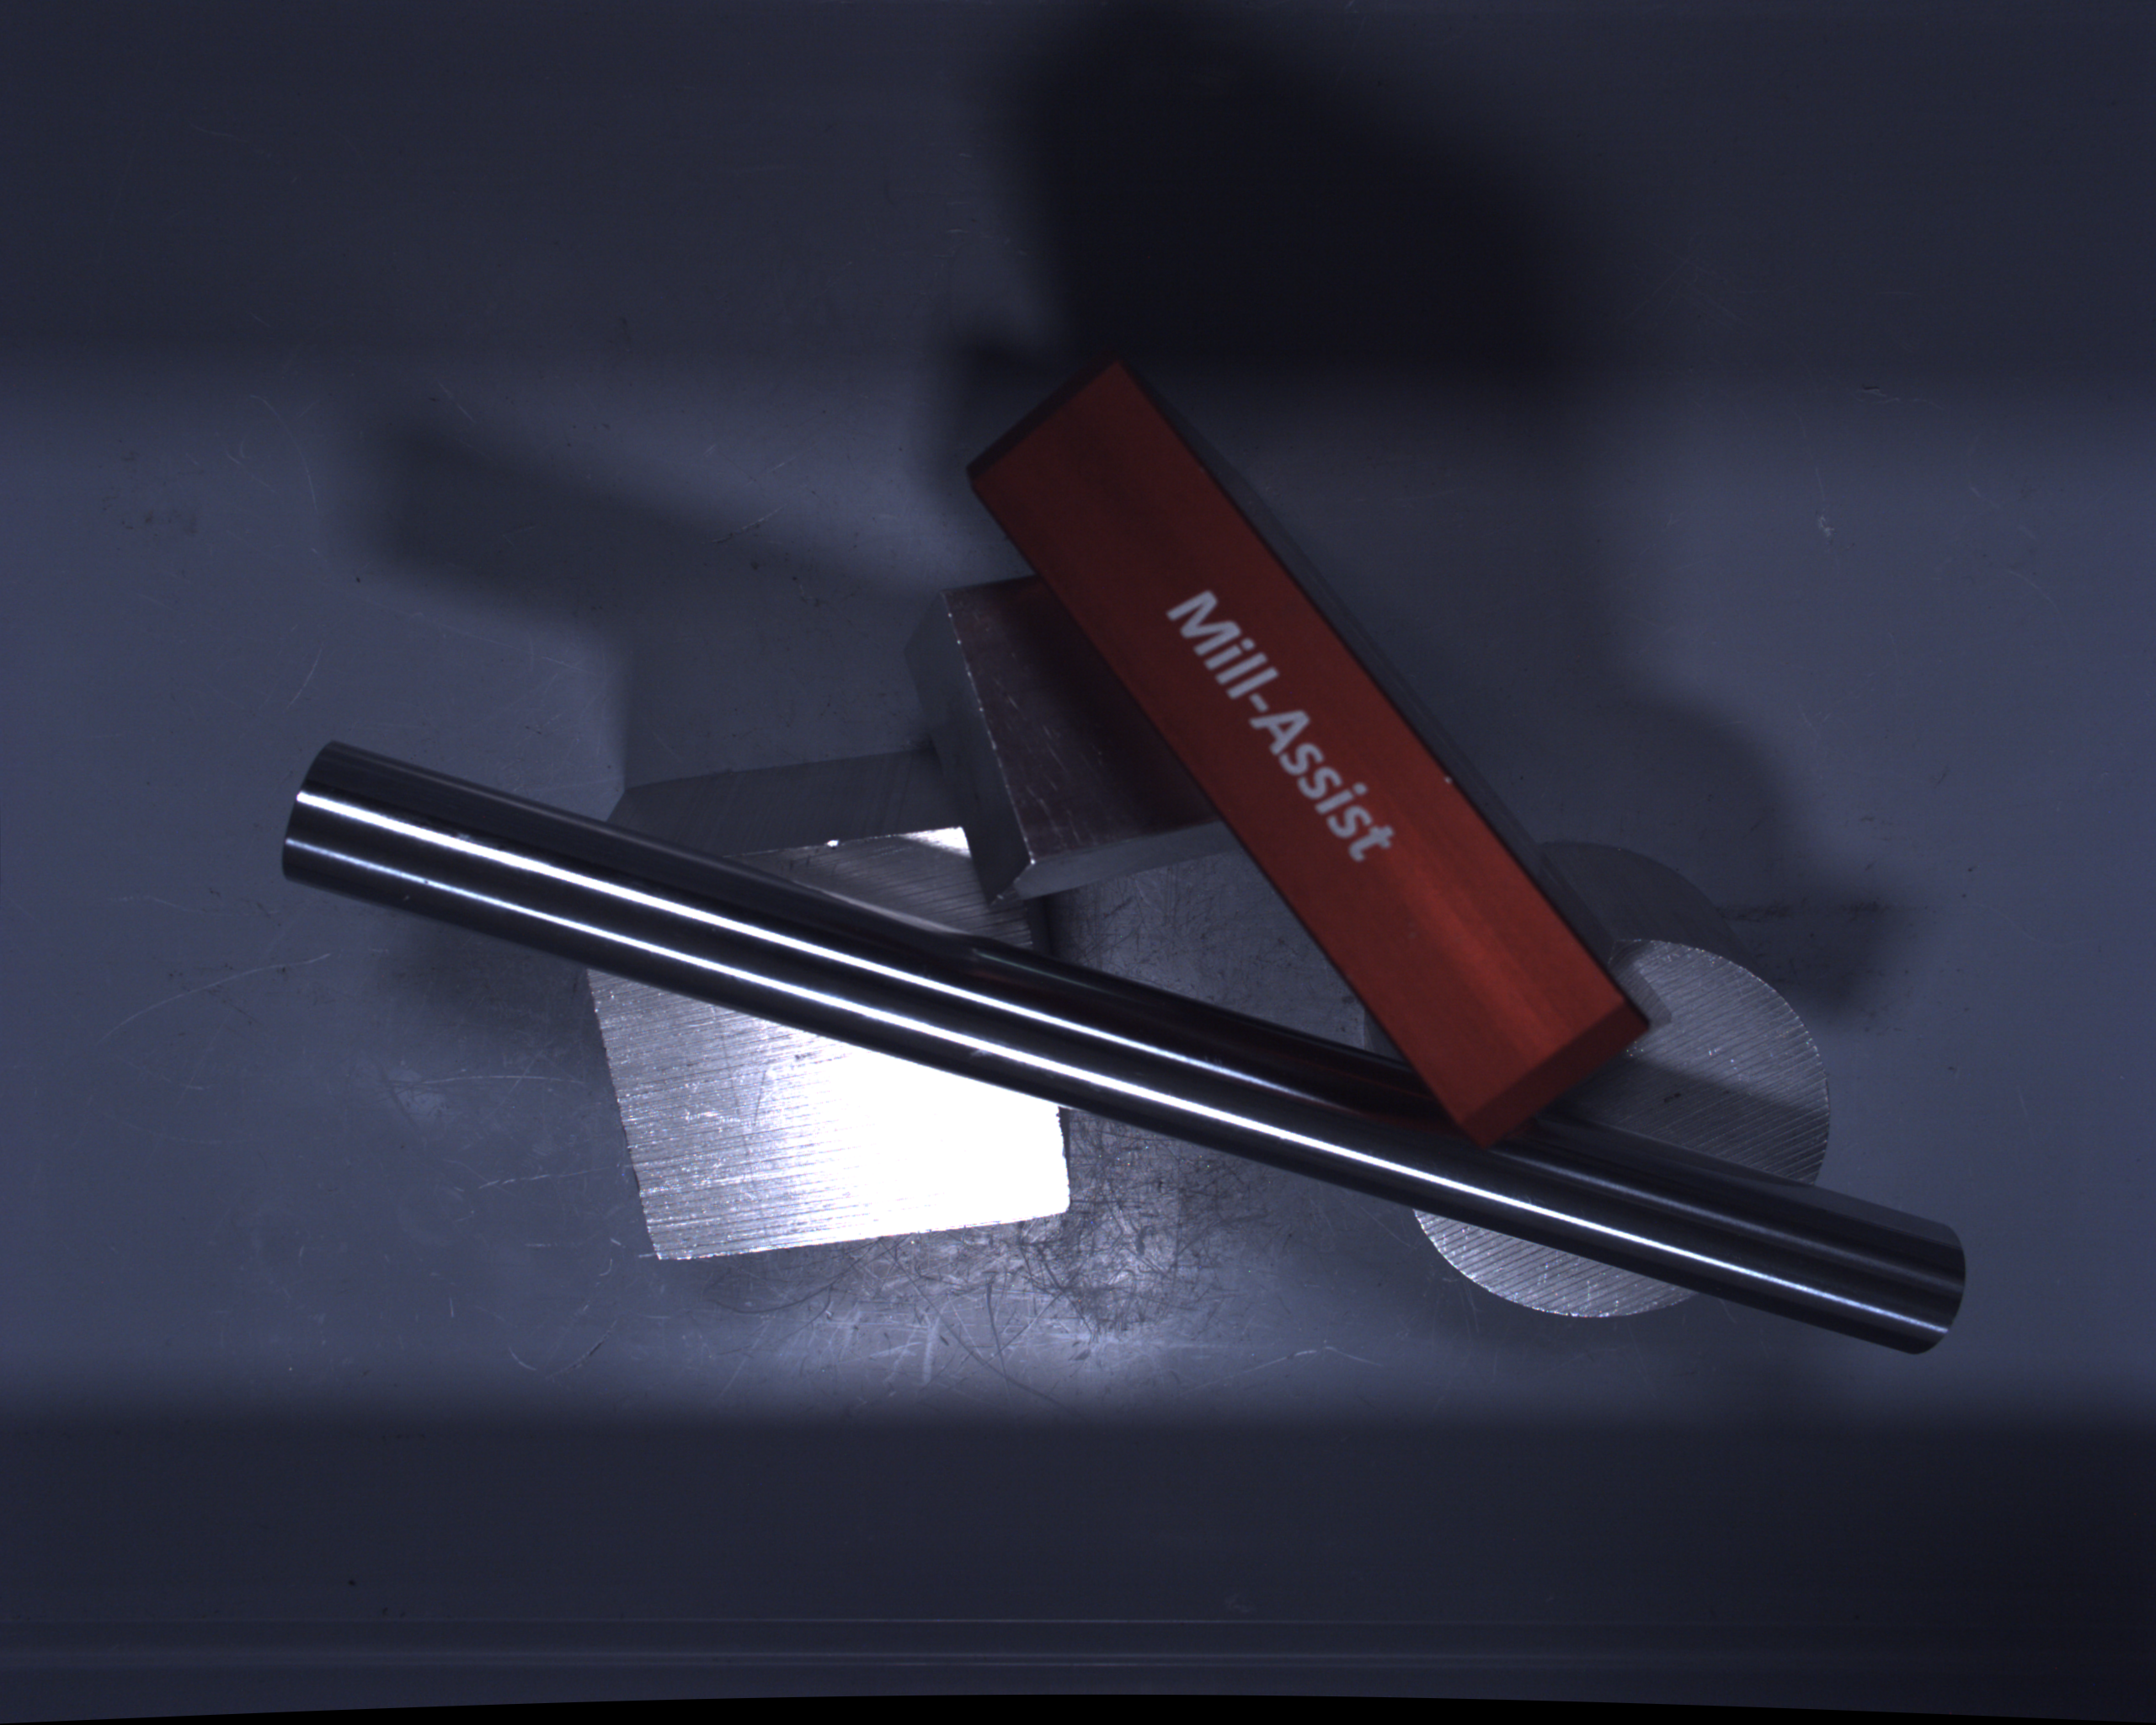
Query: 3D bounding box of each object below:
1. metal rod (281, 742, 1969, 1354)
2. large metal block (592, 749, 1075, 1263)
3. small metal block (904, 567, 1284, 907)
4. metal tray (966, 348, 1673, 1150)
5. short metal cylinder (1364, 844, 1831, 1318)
[{"bbox_3d":[0.014,0.035,0.369,0.302,0.025,0.025,17,109,-7],"label":"metal rod"},{"bbox_3d":[-0.046,0.026,0.406,0.080,0.050,0.079,-7,110,2],"label":"large metal block"},{"bbox_3d":[0.003,-0.024,0.365,0.050,0.025,0.050,-13,76,-24],"label":"small metal block"},{"bbox_3d":[0.043,-0.017,0.343,0.030,0.090,0.130,-39,76,12],"label":"metal tray"},{"bbox_3d":[0.100,0.042,0.413,0.081,0.050,0.079,0,110,-1],"label":"short metal cylinder"}]
